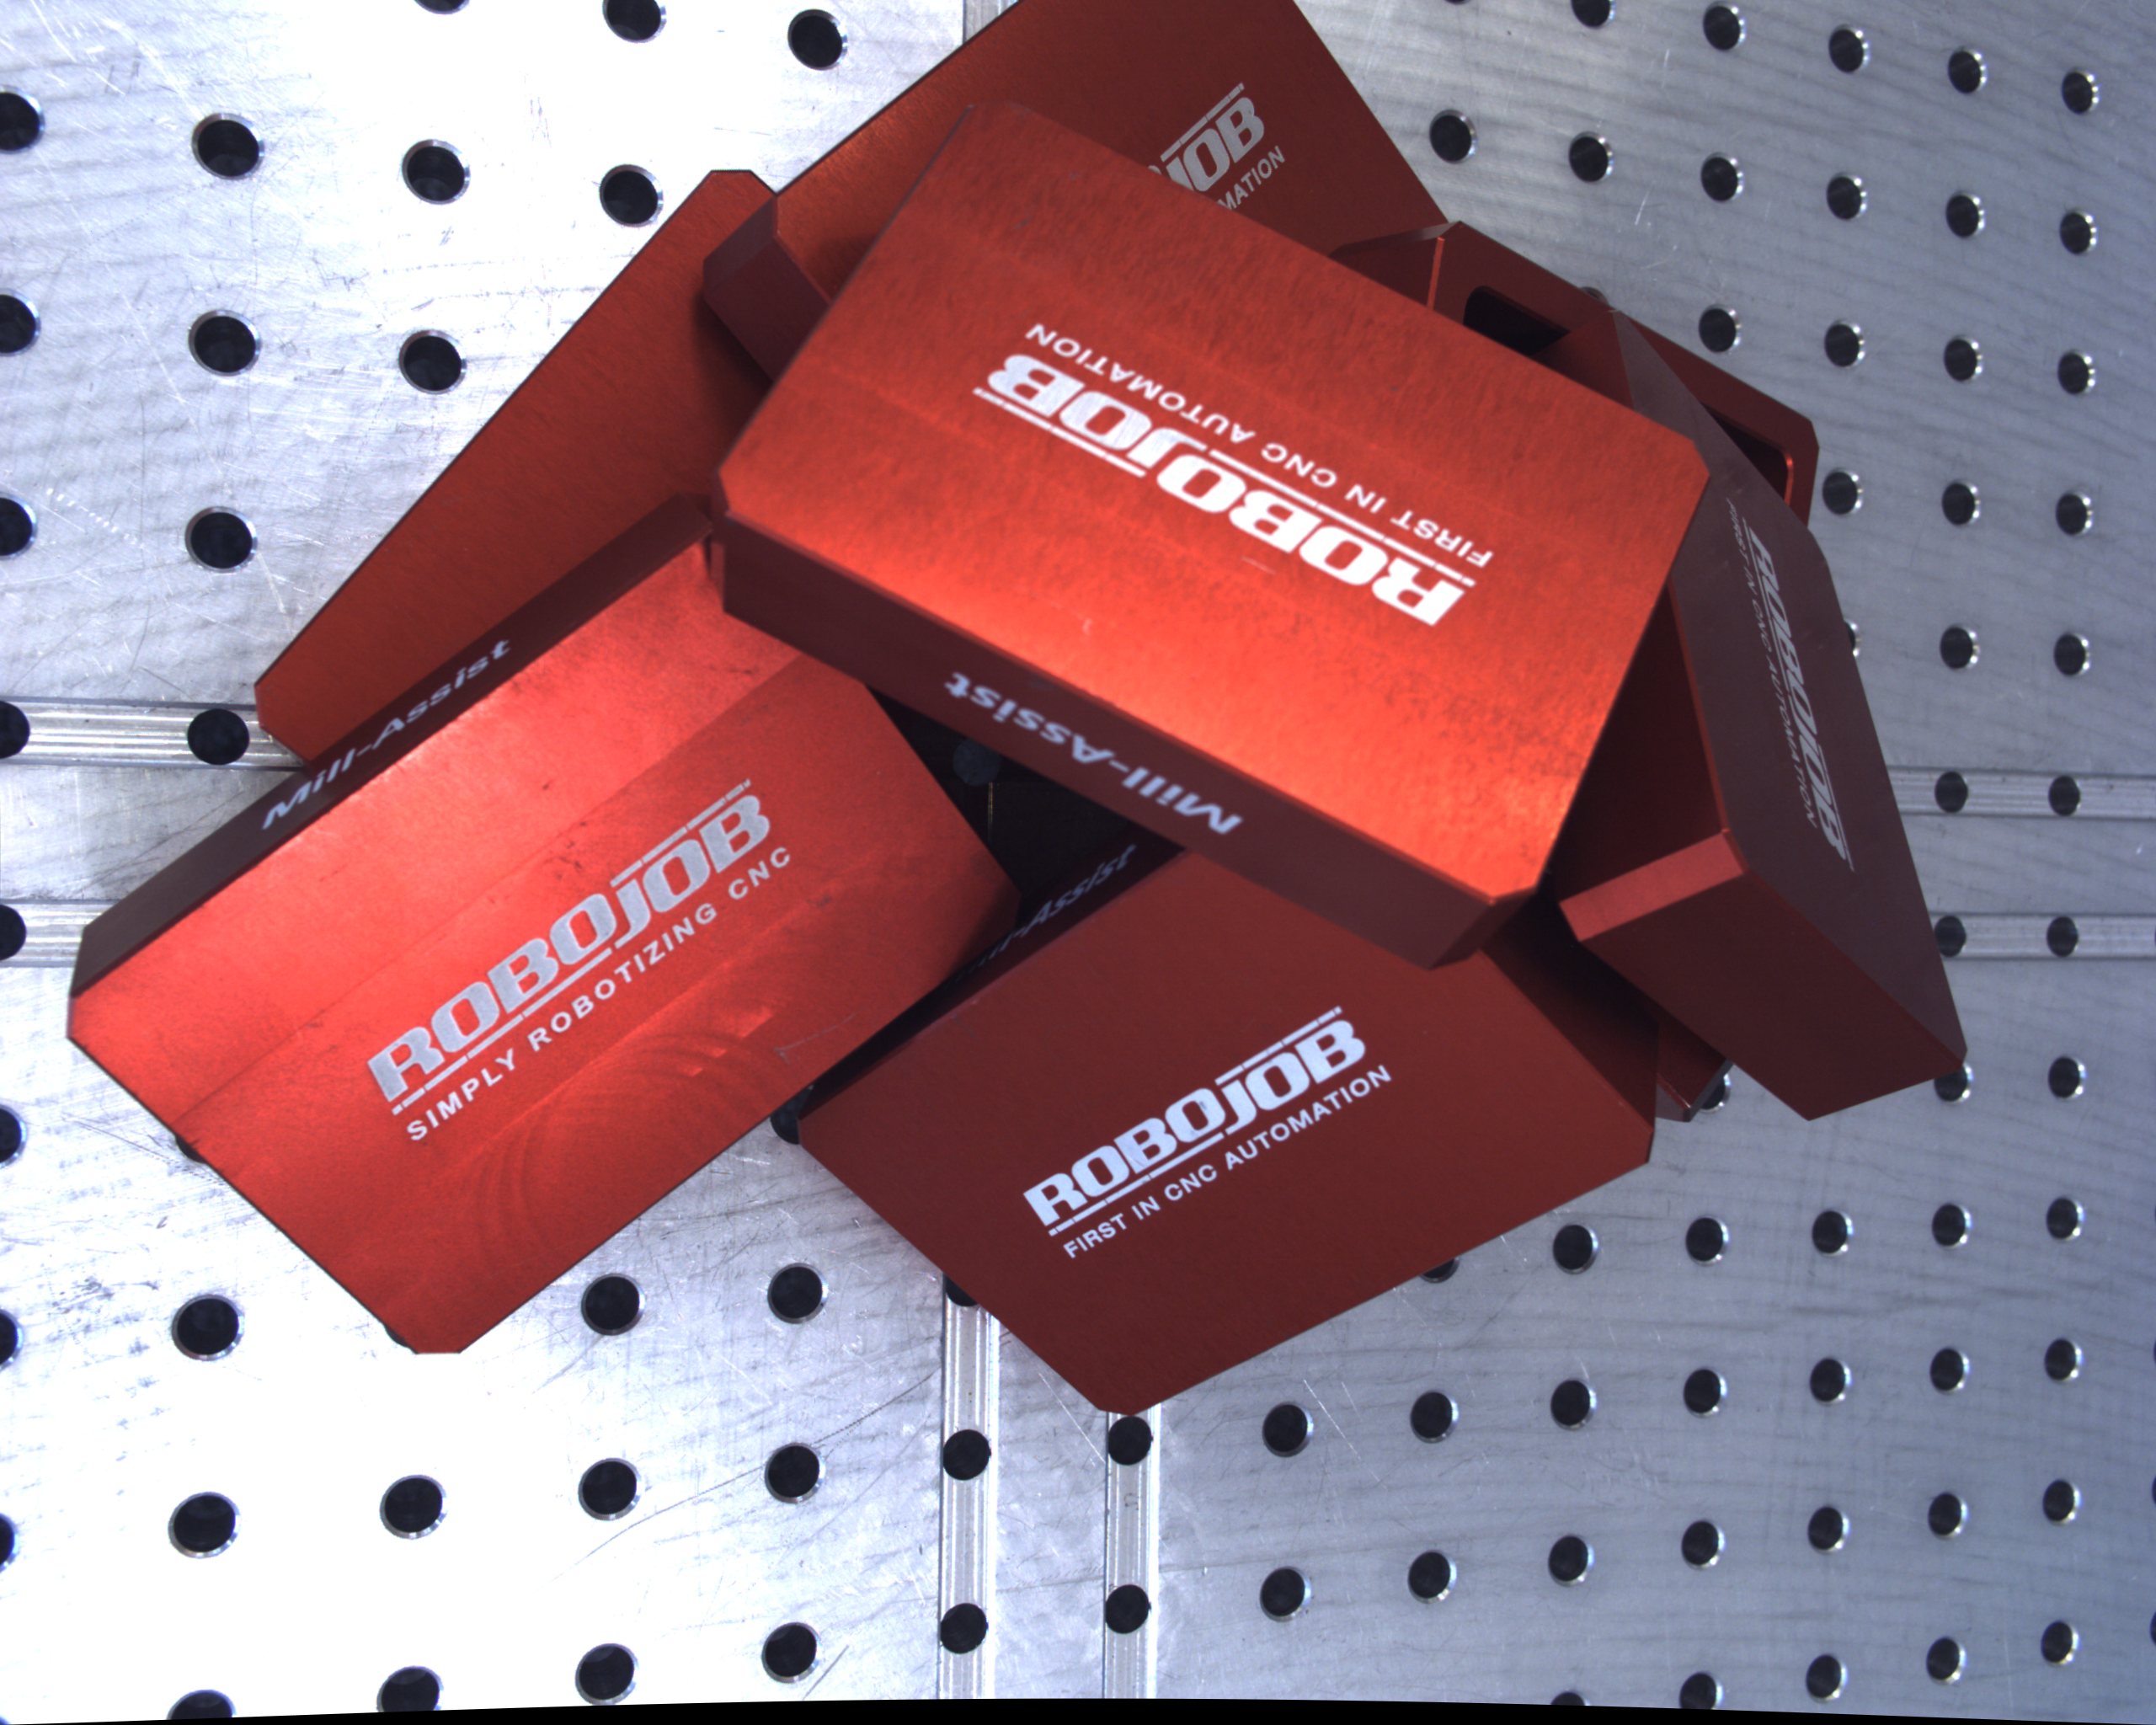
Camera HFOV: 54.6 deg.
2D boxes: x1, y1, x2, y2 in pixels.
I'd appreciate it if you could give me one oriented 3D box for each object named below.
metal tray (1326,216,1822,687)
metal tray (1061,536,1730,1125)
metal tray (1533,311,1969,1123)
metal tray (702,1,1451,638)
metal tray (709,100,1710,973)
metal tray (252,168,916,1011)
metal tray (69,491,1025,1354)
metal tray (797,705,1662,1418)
[{"bbox_3d":[0.097,-0.063,0.422,0.131,0.030,0.090,12,85,-40],"label":"metal tray"},{"bbox_3d":[0.062,-0.008,0.401,0.130,0.090,0.030,46,76,-14],"label":"metal tray"},{"bbox_3d":[0.118,-0.028,0.386,0.090,0.030,0.130,33,43,-38],"label":"metal tray"},{"bbox_3d":[0.005,-0.114,0.391,0.090,0.030,0.130,49,61,-15],"label":"metal tray"},{"bbox_3d":[0.021,-0.052,0.324,0.130,0.030,0.090,27,66,2],"label":"metal tray"},{"bbox_3d":[-0.072,-0.049,0.382,0.090,0.030,0.130,41,77,-16],"label":"metal tray"},{"bbox_3d":[-0.086,0.011,0.354,0.130,0.030,0.090,-38,118,-5],"label":"metal tray"},{"bbox_3d":[0.024,0.041,0.372,0.090,0.130,0.030,45,34,-16],"label":"metal tray"}]
